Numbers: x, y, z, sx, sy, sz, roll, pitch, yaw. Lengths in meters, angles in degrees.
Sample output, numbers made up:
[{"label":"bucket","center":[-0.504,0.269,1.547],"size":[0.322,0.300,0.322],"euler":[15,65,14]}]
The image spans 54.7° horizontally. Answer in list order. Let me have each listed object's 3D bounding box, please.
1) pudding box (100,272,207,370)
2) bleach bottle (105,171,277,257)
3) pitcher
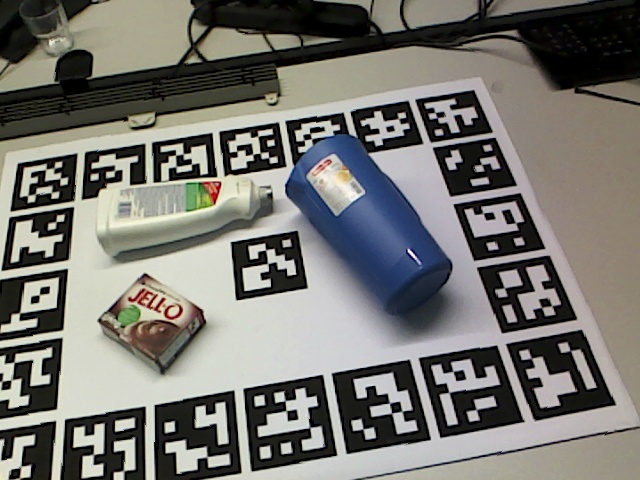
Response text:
[{"label":"pudding box","center":[-0.224,0.108,0.837],"size":[0.114,0.038,0.090],"euler":[32,58,21]},{"label":"bleach bottle","center":[-0.189,-0.046,0.931],"size":[0.250,0.068,0.103],"euler":[-10,60,-4]},{"label":"pitcher","center":[0.082,-0.006,0.862],"size":[0.187,0.133,0.244],"euler":[-8,53,-44]}]
